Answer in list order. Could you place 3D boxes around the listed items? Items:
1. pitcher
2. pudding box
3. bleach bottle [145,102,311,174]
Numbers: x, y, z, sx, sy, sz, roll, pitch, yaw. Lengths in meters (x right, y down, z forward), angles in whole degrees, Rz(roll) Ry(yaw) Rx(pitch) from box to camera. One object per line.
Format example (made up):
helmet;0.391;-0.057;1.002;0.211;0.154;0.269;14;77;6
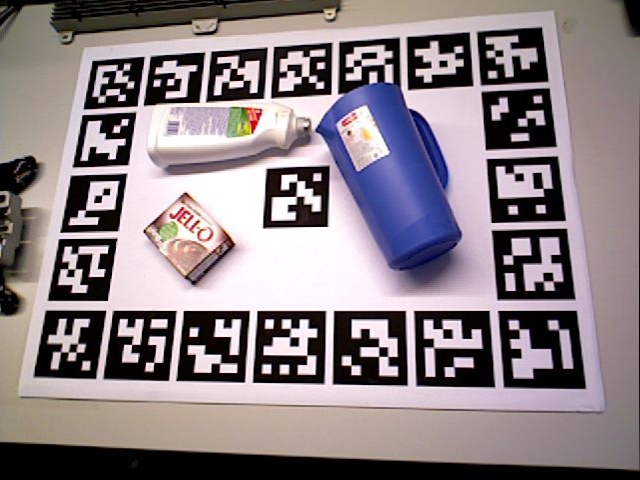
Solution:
pitcher;0.112;-0.067;0.753;0.185;0.136;0.242;-13;73;-33
pudding box;-0.204;0.006;0.805;0.089;0.039;0.113;-41;73;-11
bleach bottle;-0.139;-0.162;0.839;0.250;0.068;0.102;-3;77;6
